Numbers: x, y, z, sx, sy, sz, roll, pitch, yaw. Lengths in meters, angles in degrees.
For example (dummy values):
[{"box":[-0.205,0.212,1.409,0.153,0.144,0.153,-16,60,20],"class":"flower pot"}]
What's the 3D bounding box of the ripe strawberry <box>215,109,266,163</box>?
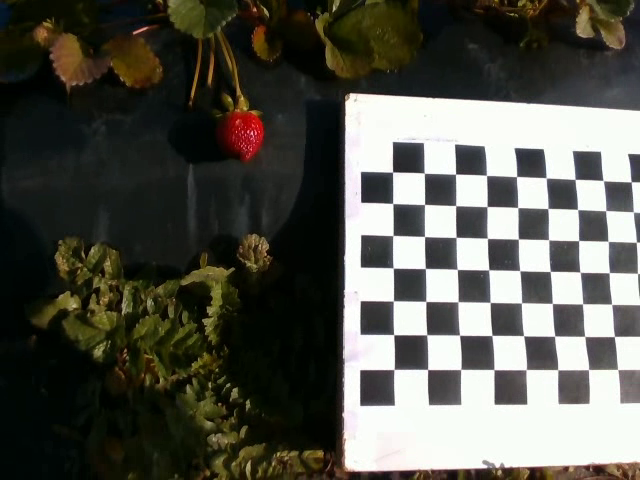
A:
[{"box":[-0.056,-0.071,0.479,0.040,0.044,0.037,-17,-23,-12],"class":"ripe strawberry"}]
